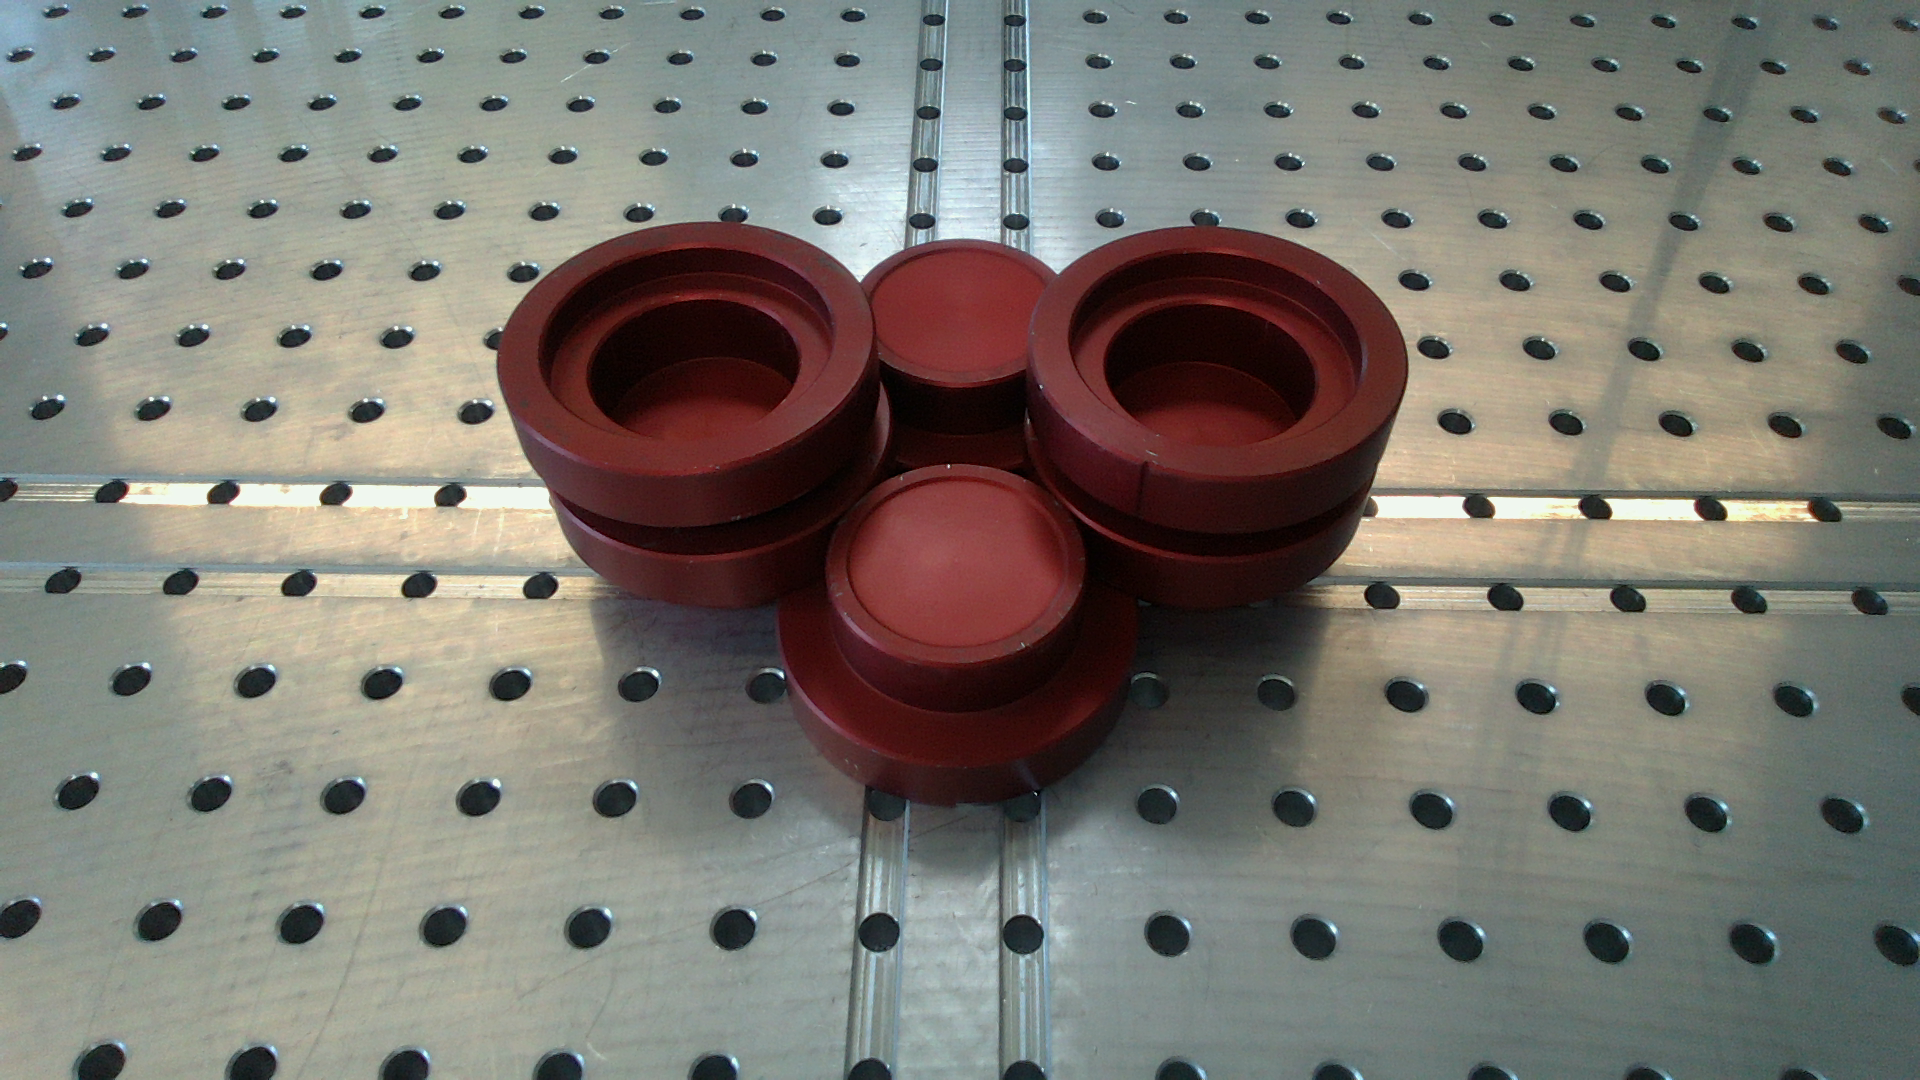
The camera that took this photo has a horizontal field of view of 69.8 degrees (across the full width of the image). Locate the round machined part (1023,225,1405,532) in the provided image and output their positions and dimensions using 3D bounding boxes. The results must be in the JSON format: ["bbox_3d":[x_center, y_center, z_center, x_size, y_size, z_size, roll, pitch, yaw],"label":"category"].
[{"bbox_3d":[0.066,-0.039,0.374,0.098,0.042,0.098,0,50,0],"label":"round machined part"}]

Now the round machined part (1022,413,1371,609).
[{"bbox_3d":[0.067,-0.019,0.399,0.098,0.042,0.098,0,50,0],"label":"round machined part"}]

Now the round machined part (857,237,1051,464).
[{"bbox_3d":[-0.001,-0.058,0.432,0.098,0.042,0.098,0,50,0],"label":"round machined part"}]

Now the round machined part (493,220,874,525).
[{"bbox_3d":[-0.072,-0.041,0.375,0.098,0.042,0.098,0,50,0],"label":"round machined part"}]

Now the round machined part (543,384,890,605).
[{"bbox_3d":[-0.069,-0.020,0.399,0.098,0.042,0.098,0,50,0],"label":"round machined part"}]

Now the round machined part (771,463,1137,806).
[{"bbox_3d":[-0.002,0.018,0.367,0.098,0.042,0.098,0,50,0],"label":"round machined part"}]
